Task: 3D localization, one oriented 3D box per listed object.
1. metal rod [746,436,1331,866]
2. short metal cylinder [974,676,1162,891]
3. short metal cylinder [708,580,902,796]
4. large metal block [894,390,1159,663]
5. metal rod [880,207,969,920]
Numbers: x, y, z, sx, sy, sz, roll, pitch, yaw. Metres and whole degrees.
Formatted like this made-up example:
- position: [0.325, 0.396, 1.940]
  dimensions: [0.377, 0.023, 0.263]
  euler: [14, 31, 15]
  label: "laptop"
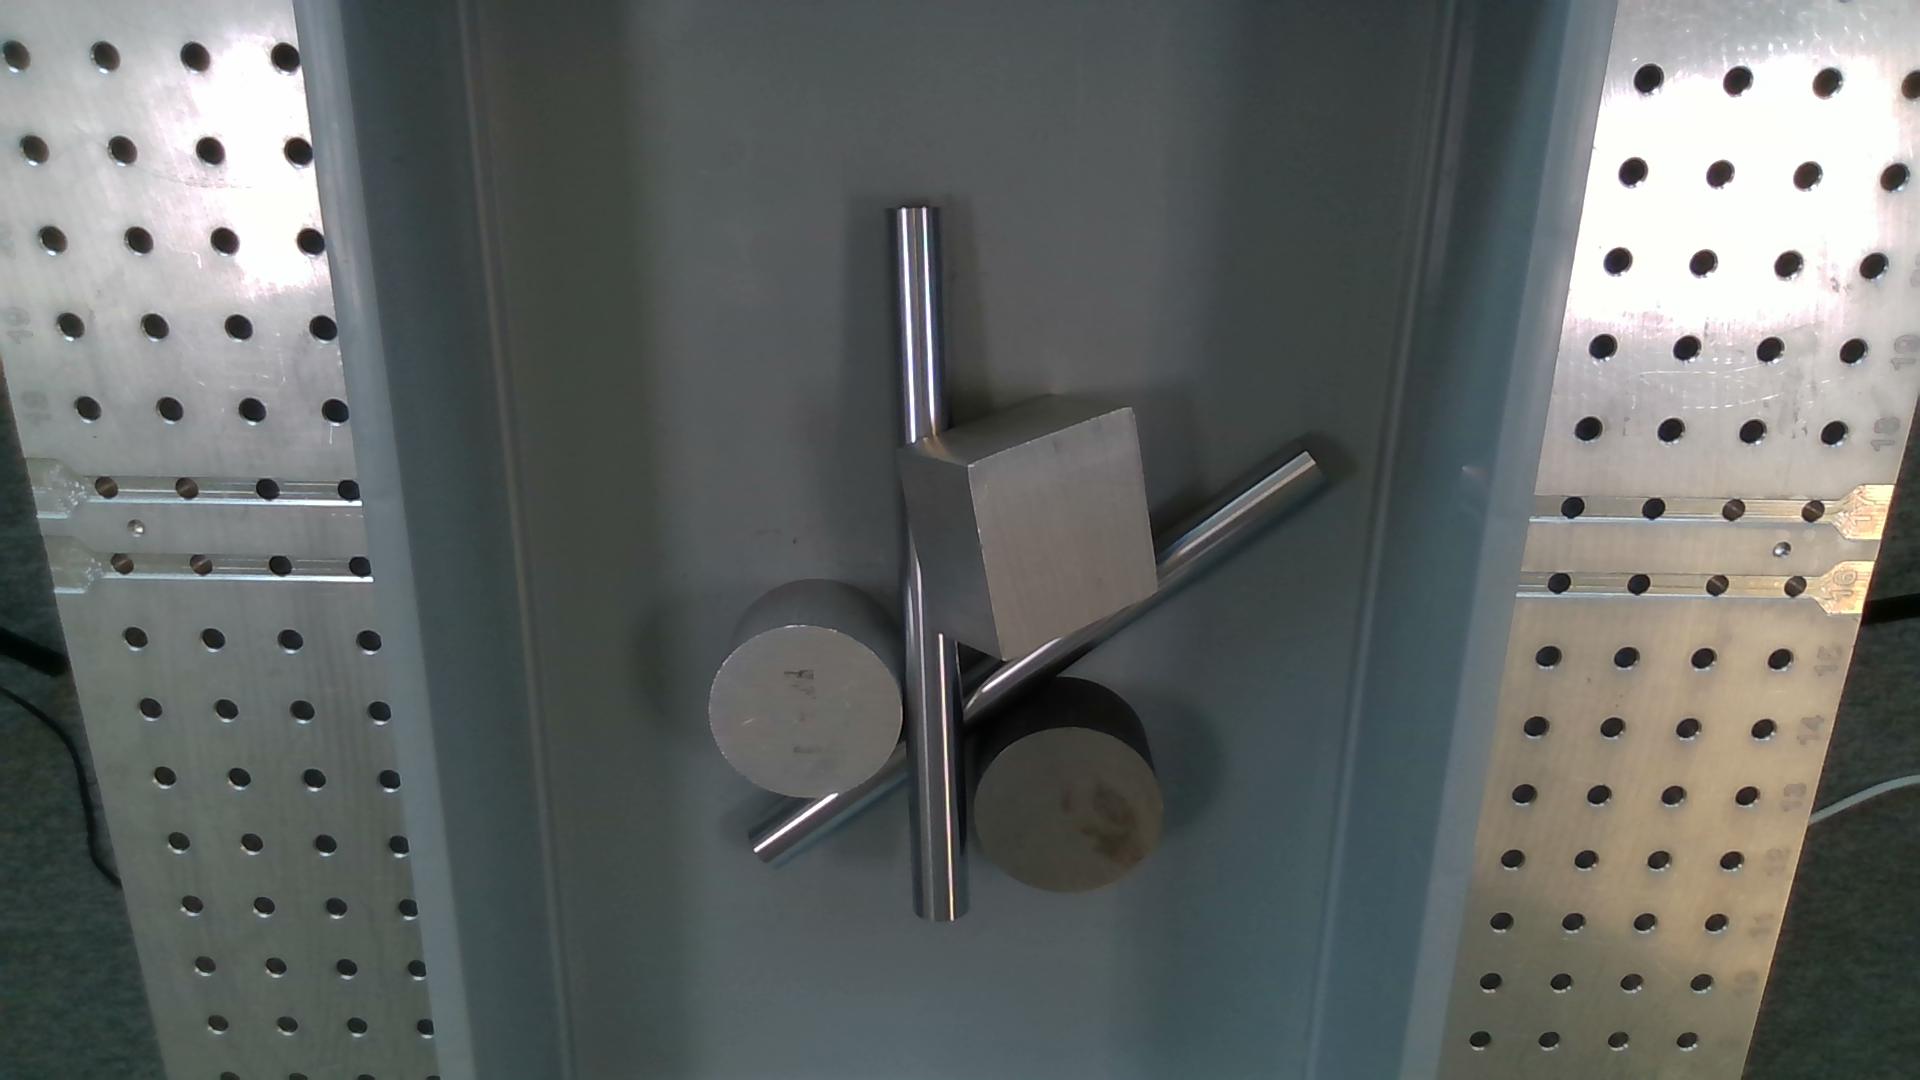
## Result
- position: [0.028, 0.053, 0.604]
  dimensions: [0.300, 0.025, 0.025]
  euler: [-36, 106, 12]
  label: "metal rod"
- position: [0.046, 0.107, 0.611]
  dimensions: [0.080, 0.050, 0.080]
  euler: [0, 110, 0]
  label: "short metal cylinder"
- position: [-0.064, 0.063, 0.594]
  dimensions: [0.080, 0.050, 0.080]
  euler: [0, 110, 0]
  label: "short metal cylinder"
- position: [0.028, -0.008, 0.548]
  dimensions: [0.080, 0.050, 0.080]
  euler: [-22, 112, -29]
  label: "large metal block"
- position: [-0.014, 0.016, 0.572]
  dimensions: [0.025, 0.025, 0.300]
  euler: [-2, 104, 1]
  label: "metal rod"
